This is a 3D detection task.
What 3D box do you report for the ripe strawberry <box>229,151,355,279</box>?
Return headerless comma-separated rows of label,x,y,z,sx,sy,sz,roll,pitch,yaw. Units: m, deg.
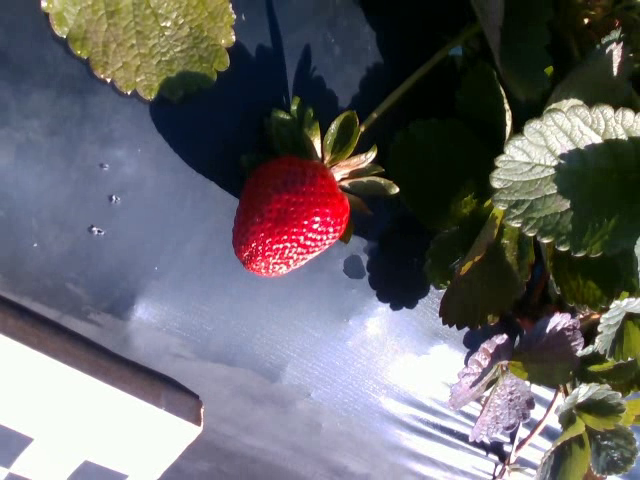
ripe strawberry,-0.015,-0.005,0.205,0.043,0.042,0.050,12,42,34
